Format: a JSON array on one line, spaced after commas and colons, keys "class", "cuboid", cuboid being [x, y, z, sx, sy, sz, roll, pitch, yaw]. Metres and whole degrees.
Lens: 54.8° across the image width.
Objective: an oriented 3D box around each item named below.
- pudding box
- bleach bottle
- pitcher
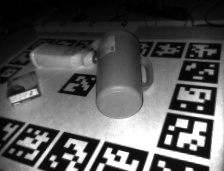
[{"class": "pudding box", "cuboid": [-0.287, -0.007, 0.693, 0.090, 0.039, 0.112, -18, 41, -14]}, {"class": "bleach bottle", "cuboid": [-0.169, -0.120, 0.780, 0.248, 0.068, 0.102, 6, 48, 19]}, {"class": "pitcher", "cuboid": [0.023, -0.035, 0.599, 0.190, 0.133, 0.241, 15, 42, -18]}]
